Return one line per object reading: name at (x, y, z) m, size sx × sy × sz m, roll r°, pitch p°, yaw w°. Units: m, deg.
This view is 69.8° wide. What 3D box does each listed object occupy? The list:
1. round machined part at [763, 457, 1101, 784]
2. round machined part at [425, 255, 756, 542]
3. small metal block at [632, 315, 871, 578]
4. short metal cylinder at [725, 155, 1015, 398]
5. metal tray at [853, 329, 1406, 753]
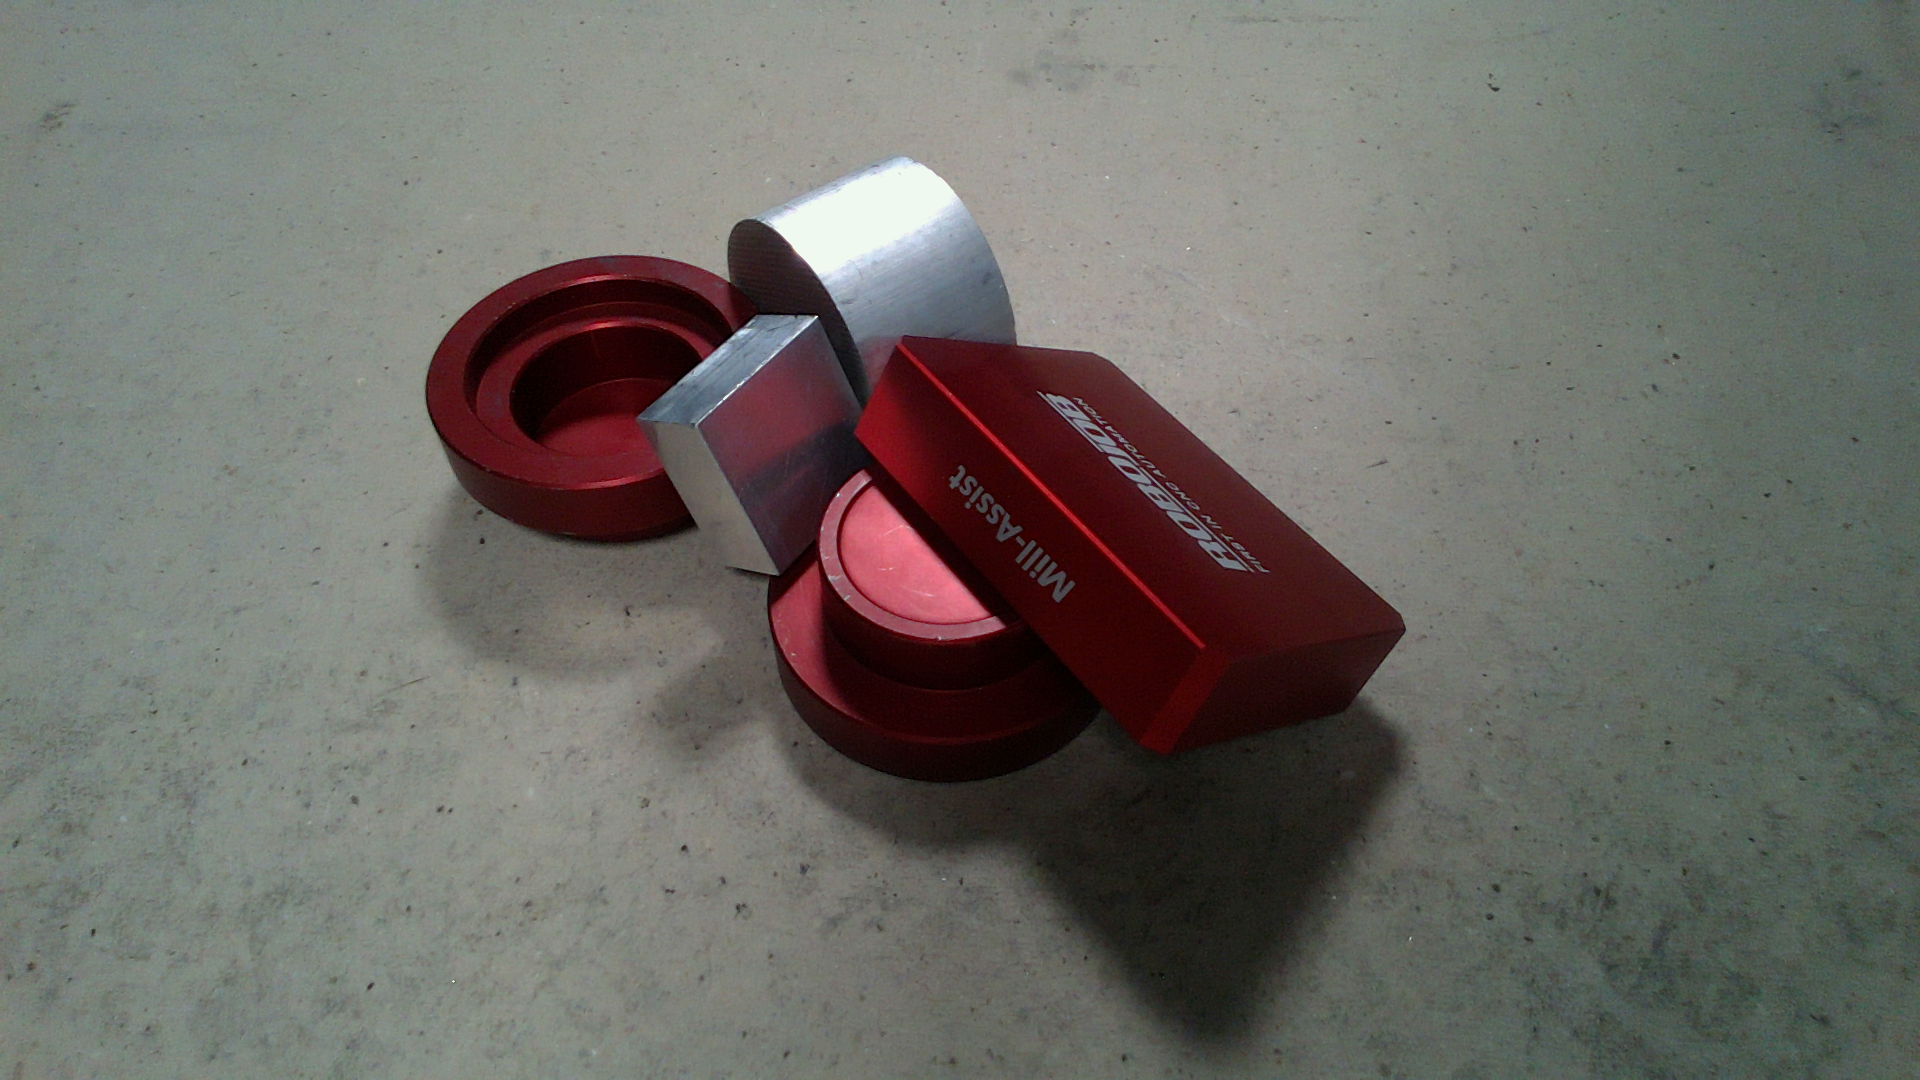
round machined part at (-0.004, 0.012, 0.370) m, size 0.098 × 0.042 × 0.098 m, roll 0°, pitch 50°, yaw 0°
round machined part at (-0.104, -0.038, 0.413) m, size 0.098 × 0.042 × 0.098 m, roll 0°, pitch 50°, yaw 0°
small metal block at (-0.053, -0.026, 0.374) m, size 0.025 × 0.050 × 0.050 m, roll 8°, pitch 45°, yaw 40°
short metal cylinder at (-0.028, -0.068, 0.414) m, size 0.050 × 0.080 × 0.080 m, roll -31°, pitch 56°, yaw -23°
metal tray at (0.043, -0.005, 0.364) m, size 0.090 × 0.030 × 0.130 m, roll -3°, pitch 41°, yaw -46°
